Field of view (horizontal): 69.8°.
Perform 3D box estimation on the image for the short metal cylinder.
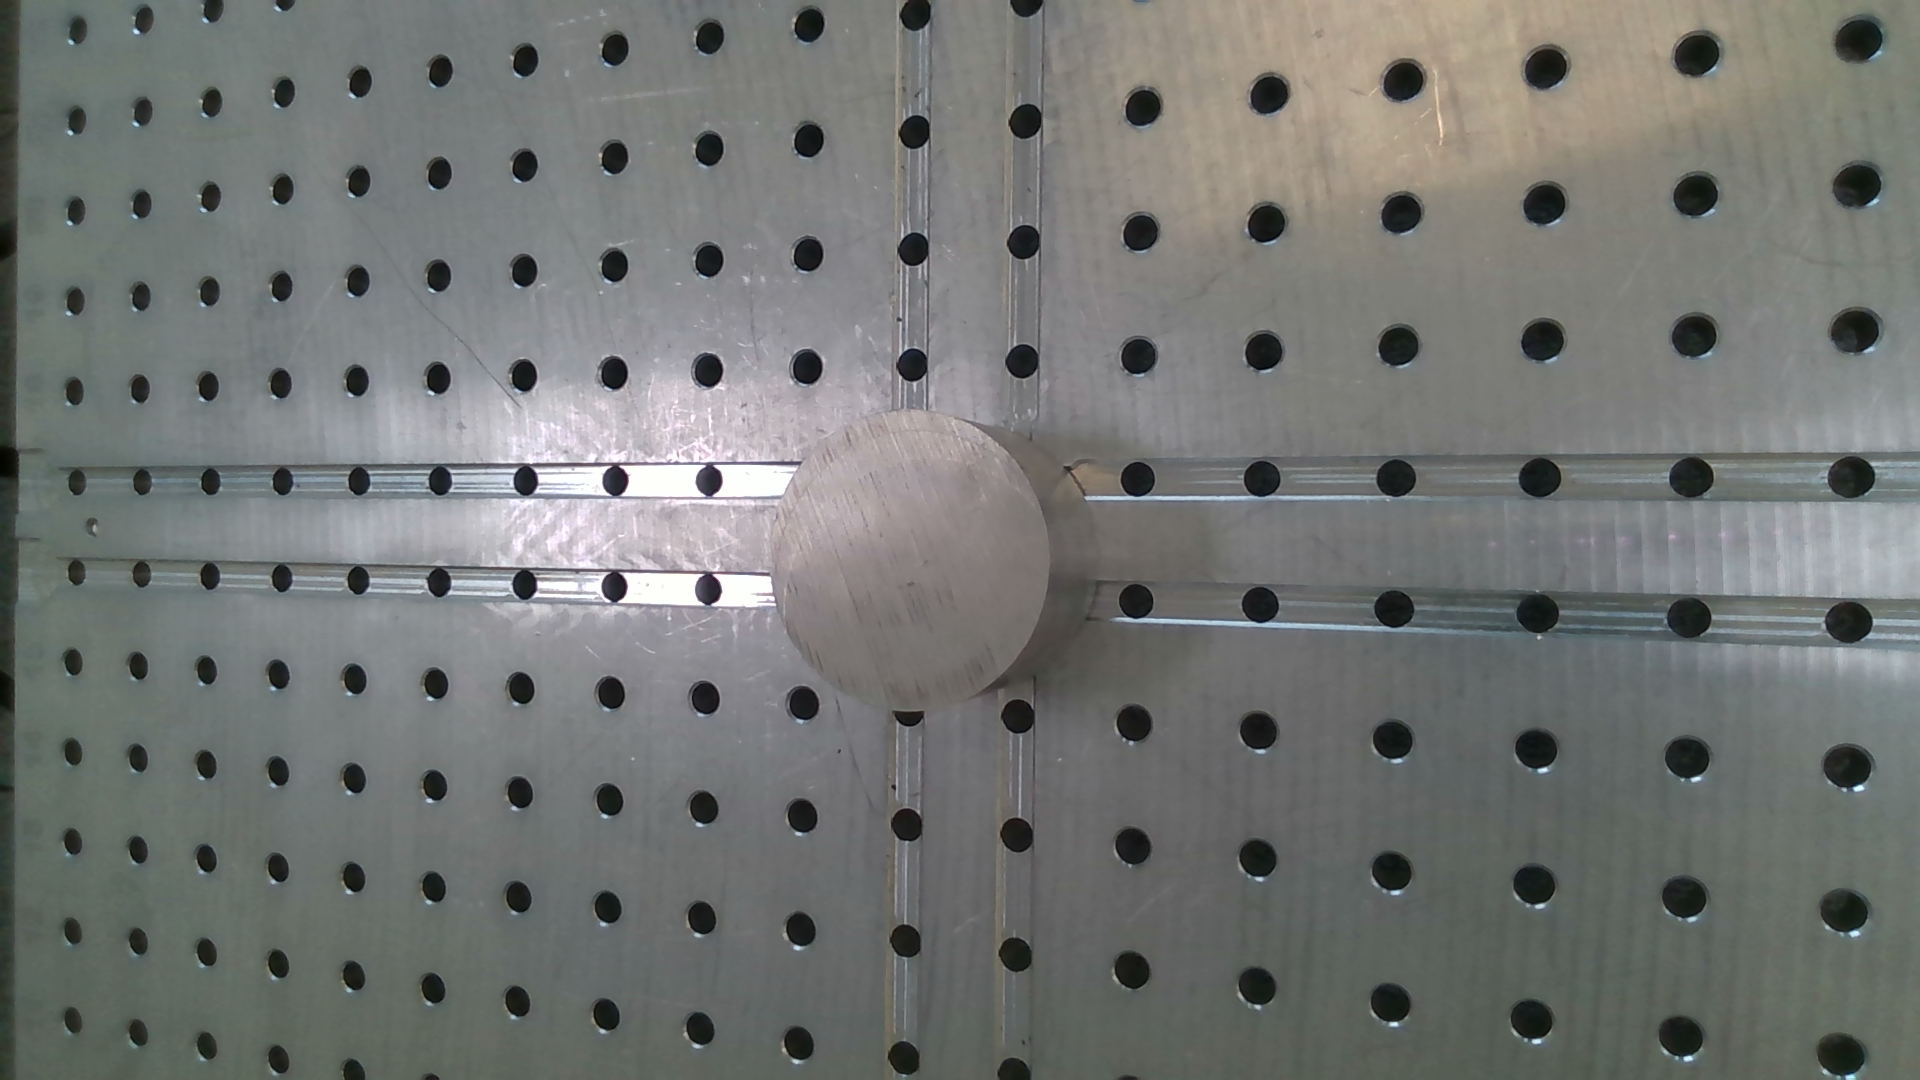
[{"bbox_3d":[-0.007,0.005,0.385,0.080,0.050,0.080,0,90,20],"label":"short metal cylinder"}]
